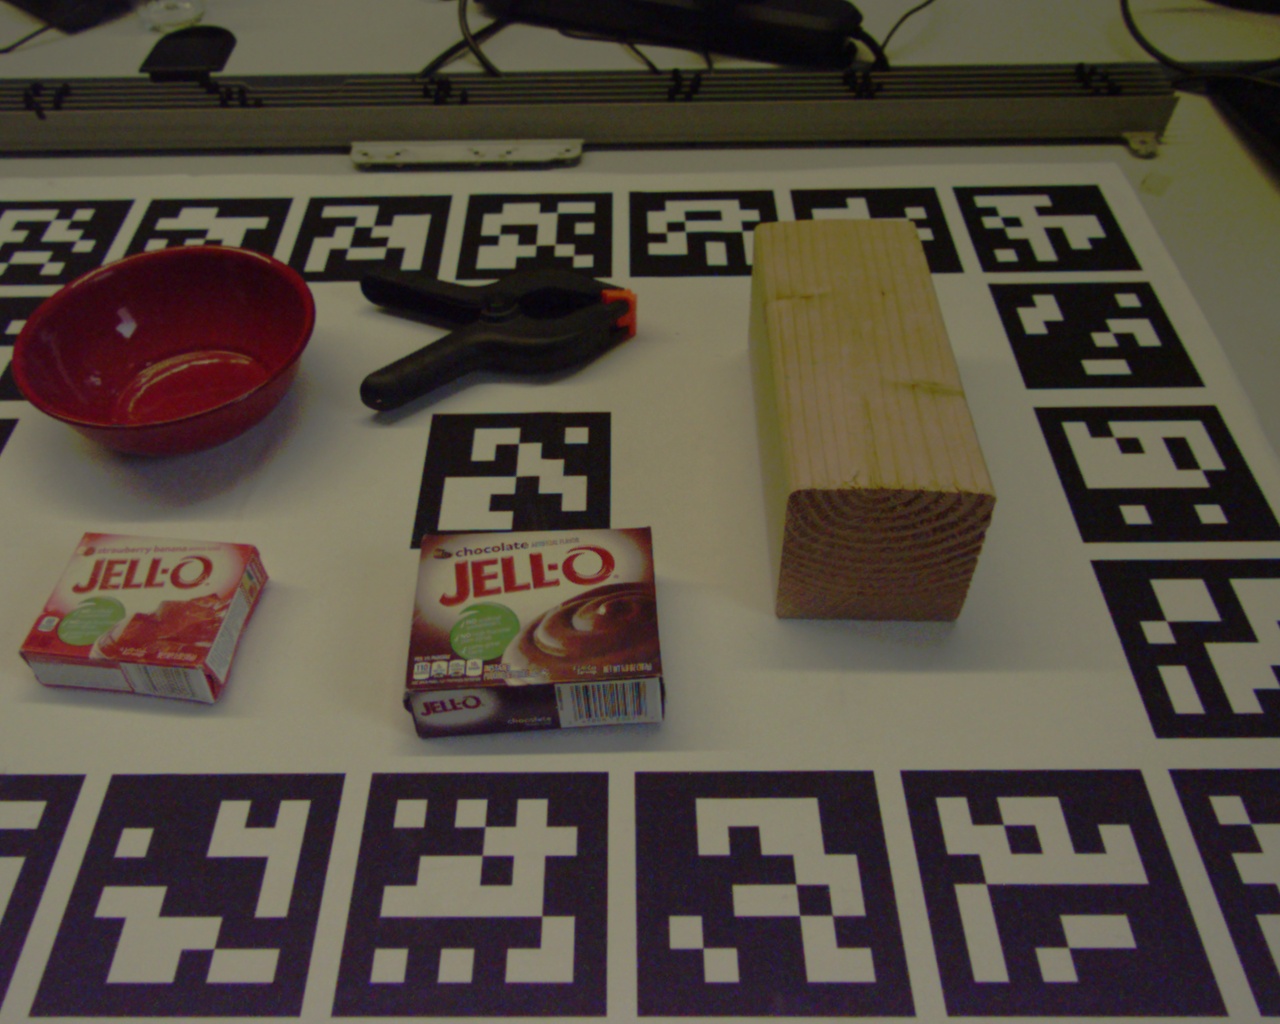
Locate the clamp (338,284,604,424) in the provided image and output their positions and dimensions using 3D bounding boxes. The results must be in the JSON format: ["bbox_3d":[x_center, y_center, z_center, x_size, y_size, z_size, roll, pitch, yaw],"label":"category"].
[{"bbox_3d":[-0.103,-0.110,0.714,0.164,0.036,0.123,-9,48,-9],"label":"clamp"}]

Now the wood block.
[{"bbox_3d":[0.109,-0.057,0.615,0.090,0.090,0.207,1,48,0],"label":"wood block"}]

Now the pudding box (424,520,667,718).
[{"bbox_3d":[-0.045,0.052,0.556,0.114,0.038,0.090,-4,52,1],"label":"pudding box"}]

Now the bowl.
[{"bbox_3d":[-0.263,-0.082,0.678,0.161,0.055,0.162,0,51,0],"label":"bowl"}]

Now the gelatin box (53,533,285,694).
[{"bbox_3d":[-0.232,0.049,0.567,0.089,0.030,0.073,4,50,5],"label":"gelatin box"}]
